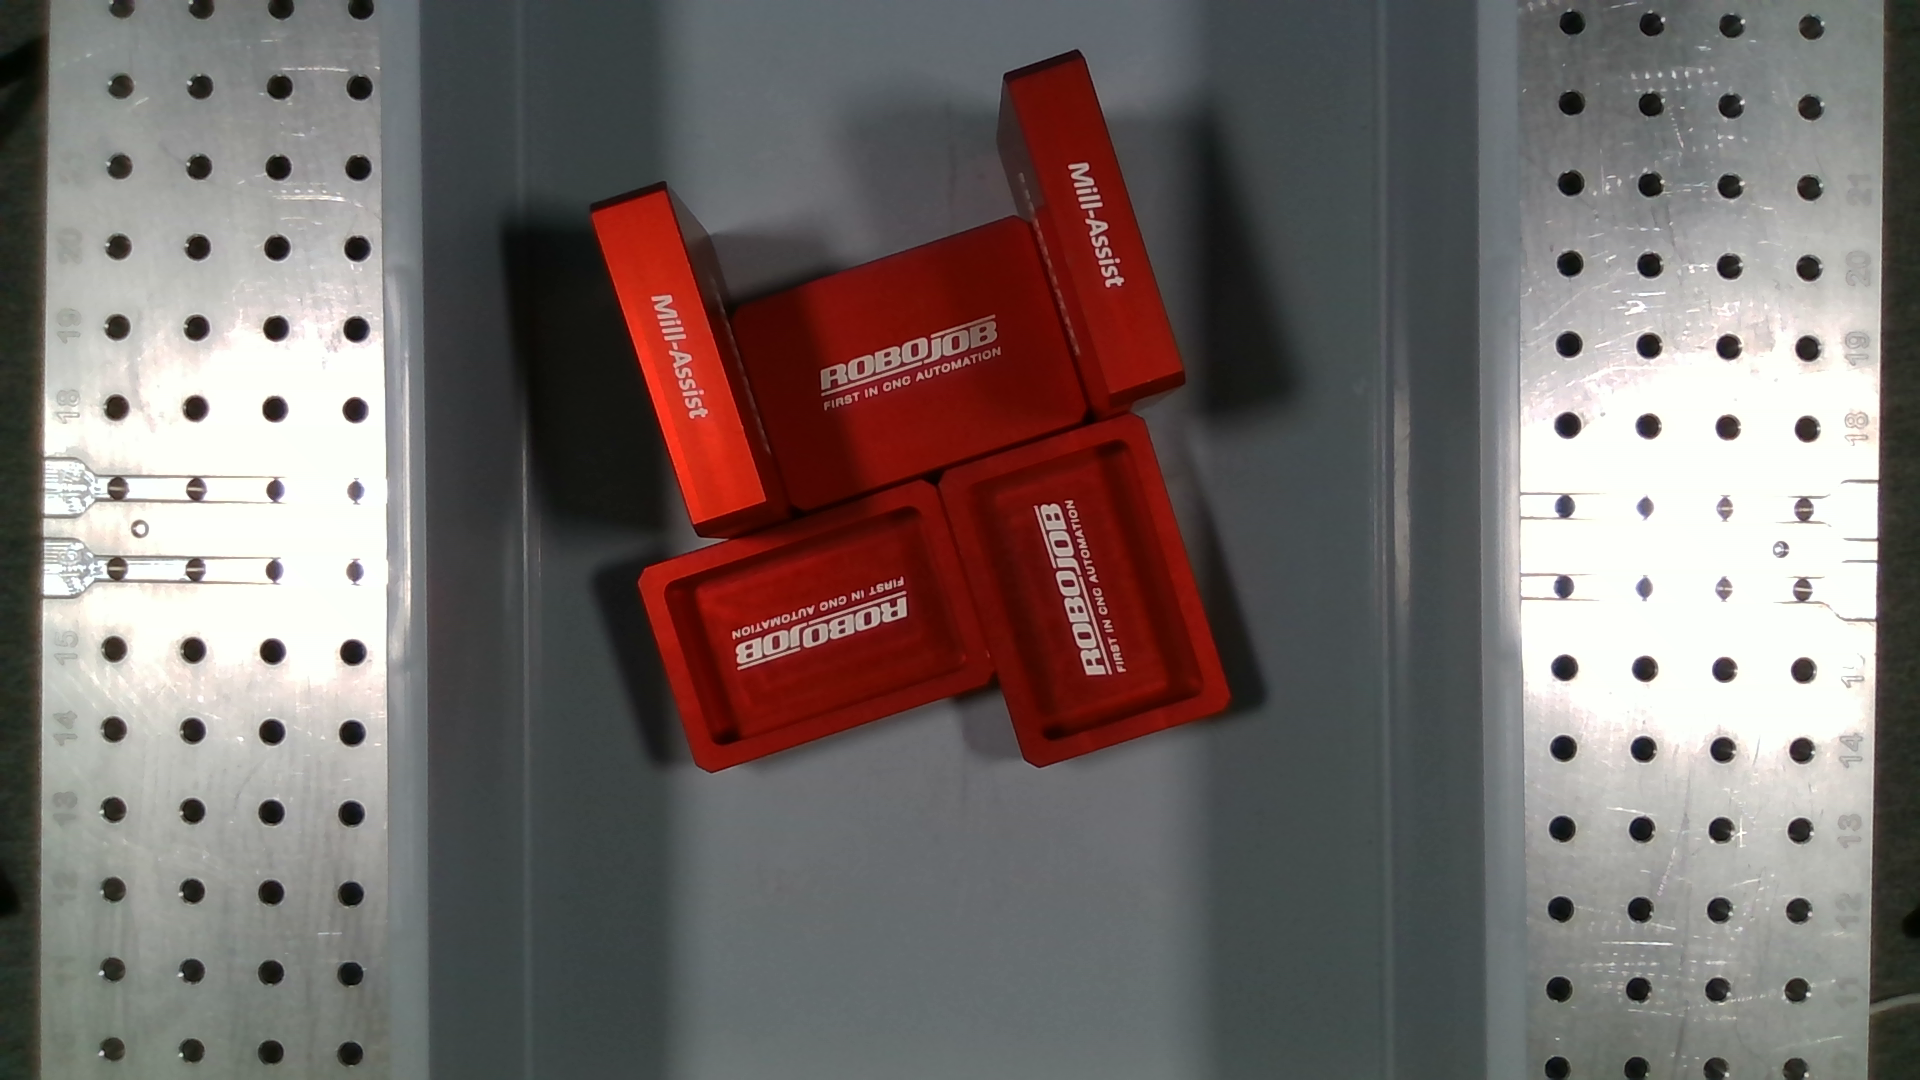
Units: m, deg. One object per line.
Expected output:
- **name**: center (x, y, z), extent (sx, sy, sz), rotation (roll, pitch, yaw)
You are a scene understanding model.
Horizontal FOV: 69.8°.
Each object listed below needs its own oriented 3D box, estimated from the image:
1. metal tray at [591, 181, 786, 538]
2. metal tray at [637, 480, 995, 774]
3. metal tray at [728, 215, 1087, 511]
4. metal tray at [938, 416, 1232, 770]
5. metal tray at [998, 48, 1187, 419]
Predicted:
- **metal tray**: center (-0.104, -0.067, 0.551), extent (0.030, 0.090, 0.130), rotation (-17, 90, 0)
- **metal tray**: center (-0.060, 0.036, 0.583), extent (0.130, 0.030, 0.090), rotation (-17, 90, 0)
- **metal tray**: center (-0.022, -0.073, 0.581), extent (0.130, 0.030, 0.090), rotation (-17, 90, 0)
- **metal tray**: center (0.052, 0.021, 0.583), extent (0.090, 0.030, 0.130), rotation (-17, 91, 0)
- **metal tray**: center (0.050, -0.116, 0.550), extent (0.030, 0.090, 0.130), rotation (-18, 90, 0)
